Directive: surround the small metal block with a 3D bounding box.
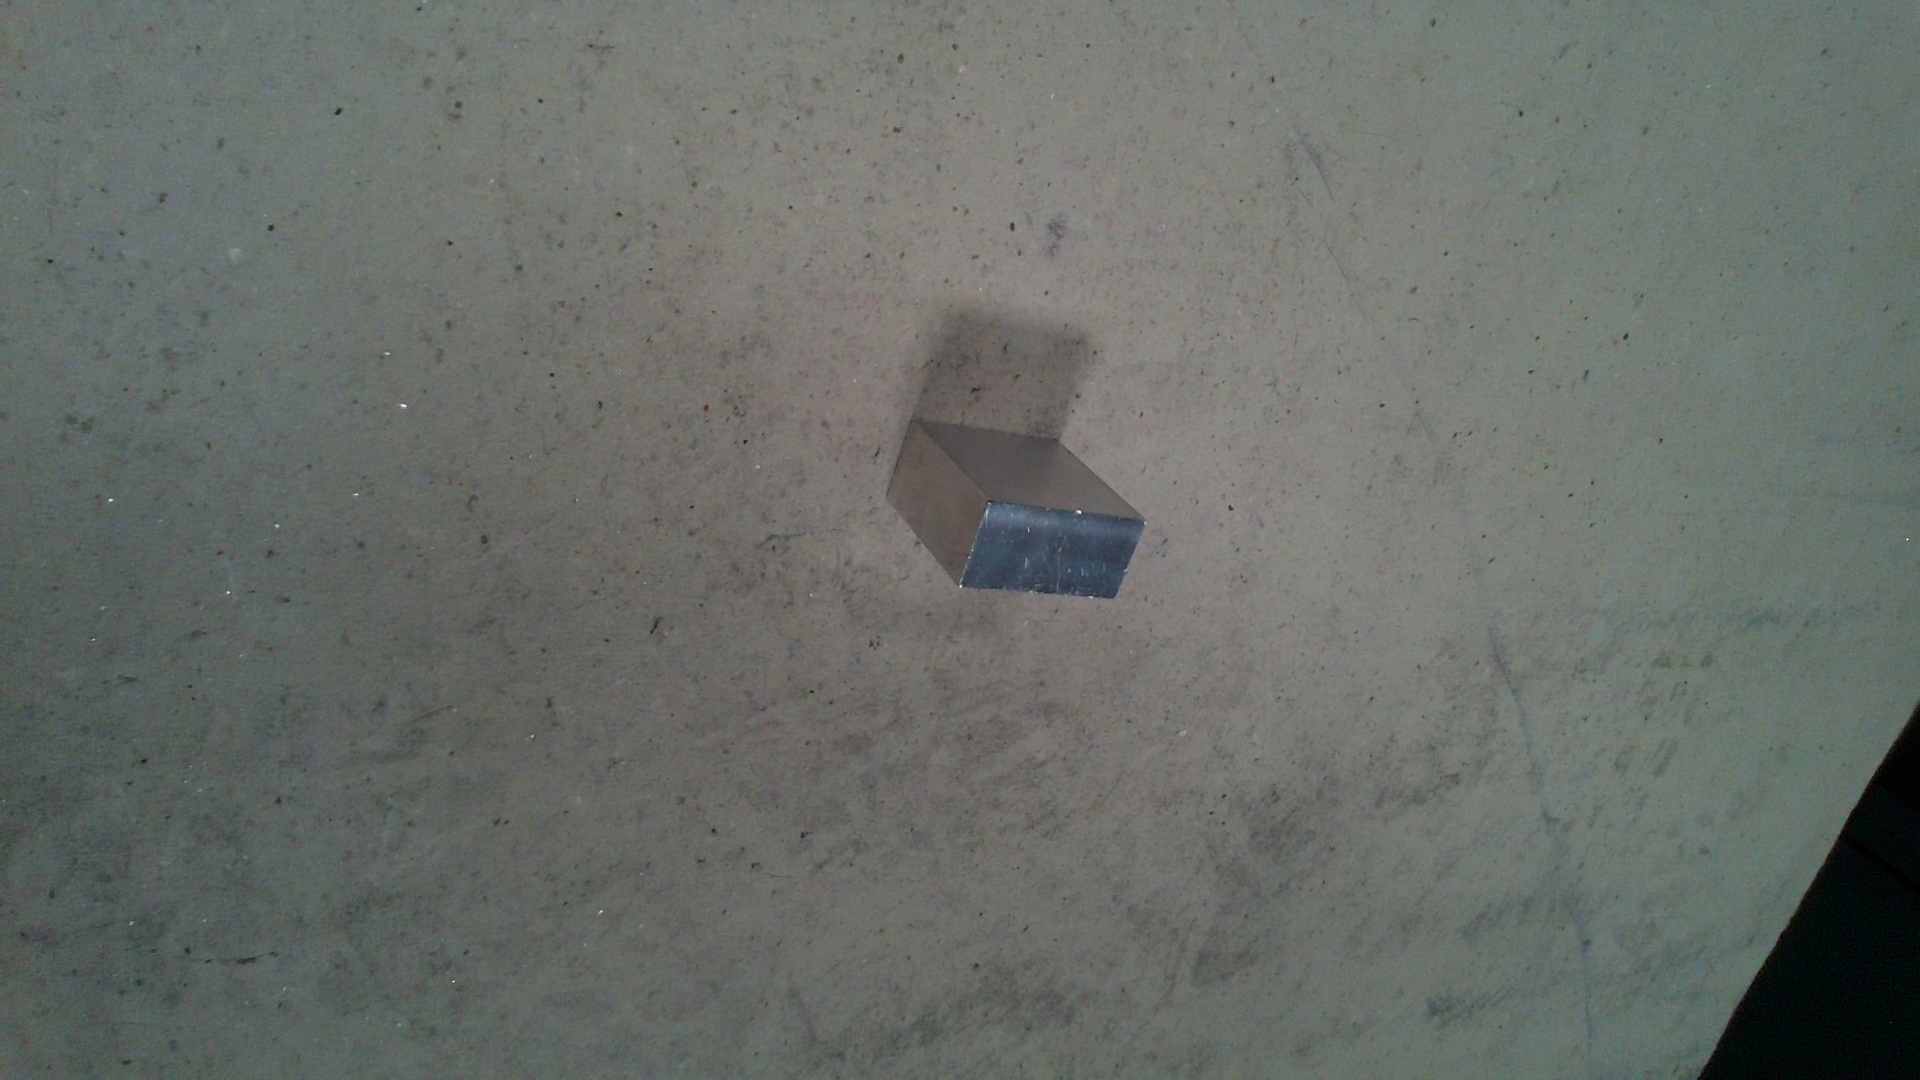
[{"bbox_3d":[0.015,-0.008,0.376,0.050,0.050,0.025,5,116,-31],"label":"small metal block"}]
